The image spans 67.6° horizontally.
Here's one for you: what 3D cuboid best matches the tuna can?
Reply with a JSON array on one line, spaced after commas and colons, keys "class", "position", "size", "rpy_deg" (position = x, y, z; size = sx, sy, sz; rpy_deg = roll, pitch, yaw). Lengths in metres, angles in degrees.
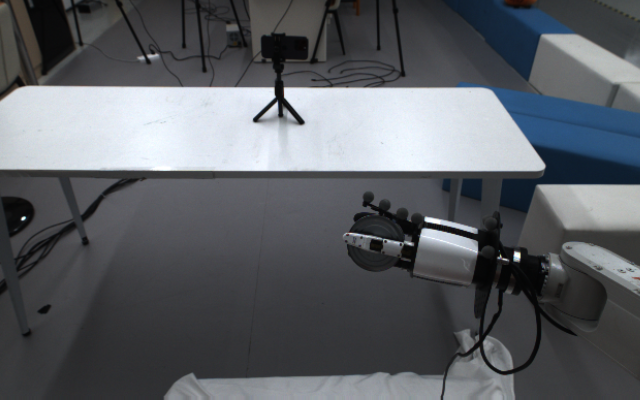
[{"class": "tuna can", "position": [0.088, 0.062, 0.734], "size": [0.085, 0.085, 0.034], "rpy_deg": [13, 2, 16]}]
